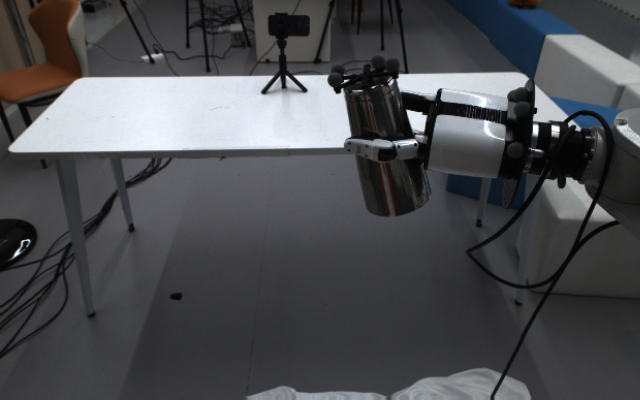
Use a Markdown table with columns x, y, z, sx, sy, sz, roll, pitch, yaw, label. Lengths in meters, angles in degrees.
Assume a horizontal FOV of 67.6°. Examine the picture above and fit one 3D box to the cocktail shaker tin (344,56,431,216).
| x | y | z | sx | sy | sz | roll | pitch | yaw | label |
| --- | --- | --- | --- | --- | --- | --- | --- | --- | --- |
| 0.085 | -0.074 | 0.632 | 0.093 | 0.170 | 0.093 | -15 | 29 | 8 | cocktail shaker tin |
